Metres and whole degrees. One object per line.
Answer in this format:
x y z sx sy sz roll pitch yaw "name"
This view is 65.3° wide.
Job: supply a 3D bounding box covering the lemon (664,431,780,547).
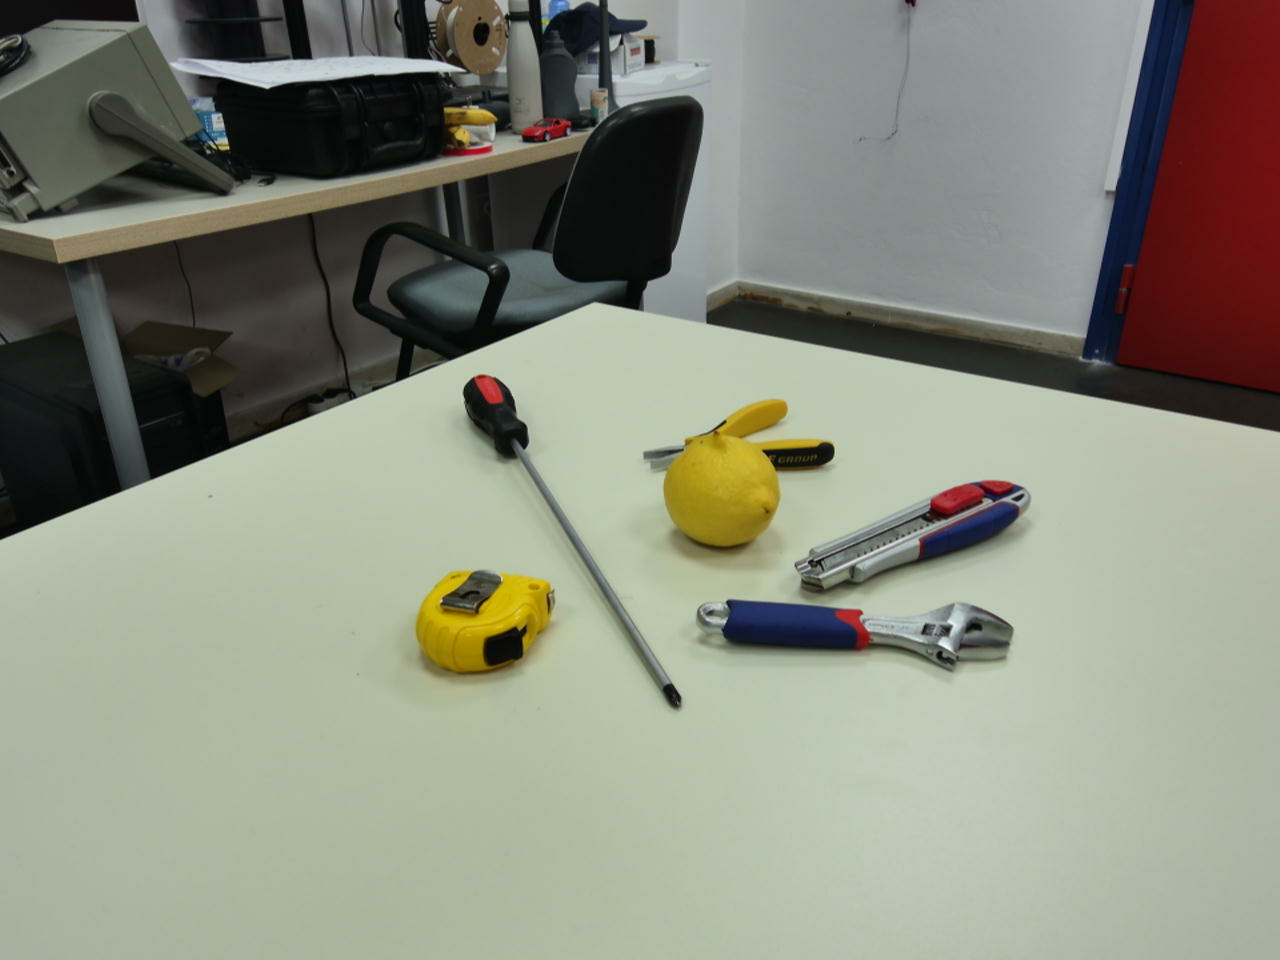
0.050 0.003 0.606 0.070 0.071 0.071 1 25 2 "lemon"
